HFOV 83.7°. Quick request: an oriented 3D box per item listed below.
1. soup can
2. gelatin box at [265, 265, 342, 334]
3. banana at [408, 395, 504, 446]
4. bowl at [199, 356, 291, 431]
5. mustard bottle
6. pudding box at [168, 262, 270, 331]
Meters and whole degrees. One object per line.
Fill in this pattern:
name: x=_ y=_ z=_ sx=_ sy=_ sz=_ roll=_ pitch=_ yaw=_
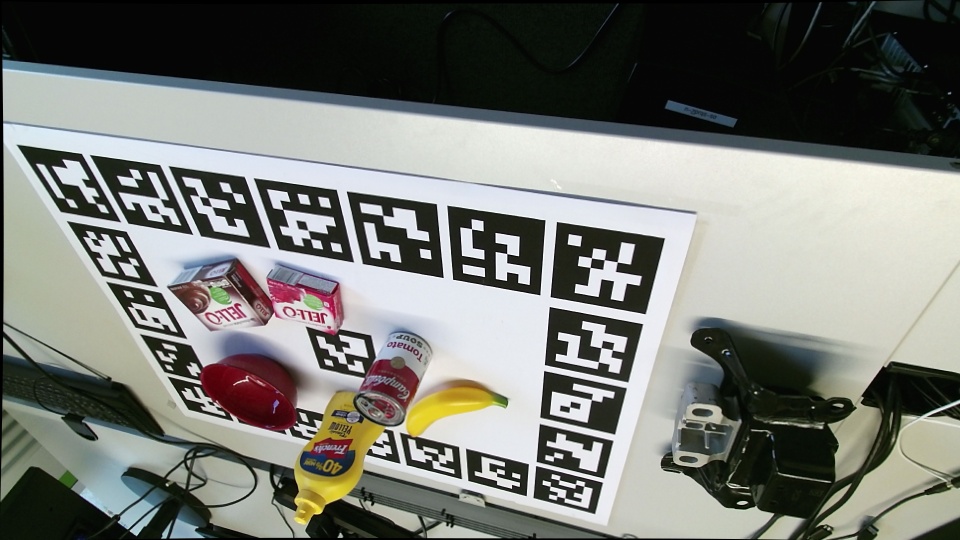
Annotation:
soup can: x=-0.108 y=0.150 z=0.678 sx=0.068 sy=0.102 sz=0.068 roll=12 pitch=134 yaw=13
gelatin box: x=-0.225 y=0.039 z=0.686 sx=0.089 sy=0.030 sz=0.073 roll=15 pitch=129 yaw=7
banana: x=-0.055 y=0.217 z=0.771 sx=0.074 sy=0.038 sz=0.197 roll=34 pitch=133 yaw=-24
bowl: x=-0.363 y=0.187 z=0.851 sx=0.162 sy=0.055 sz=0.162 roll=9 pitch=132 yaw=11
mustard bottle: x=-0.220 y=0.279 z=0.766 sx=0.096 sy=0.191 sz=0.058 roll=10 pitch=134 yaw=13
pudding box: x=-0.357 y=0.041 z=0.731 sx=0.114 sy=0.038 sz=0.090 roll=-11 pitch=119 yaw=27
